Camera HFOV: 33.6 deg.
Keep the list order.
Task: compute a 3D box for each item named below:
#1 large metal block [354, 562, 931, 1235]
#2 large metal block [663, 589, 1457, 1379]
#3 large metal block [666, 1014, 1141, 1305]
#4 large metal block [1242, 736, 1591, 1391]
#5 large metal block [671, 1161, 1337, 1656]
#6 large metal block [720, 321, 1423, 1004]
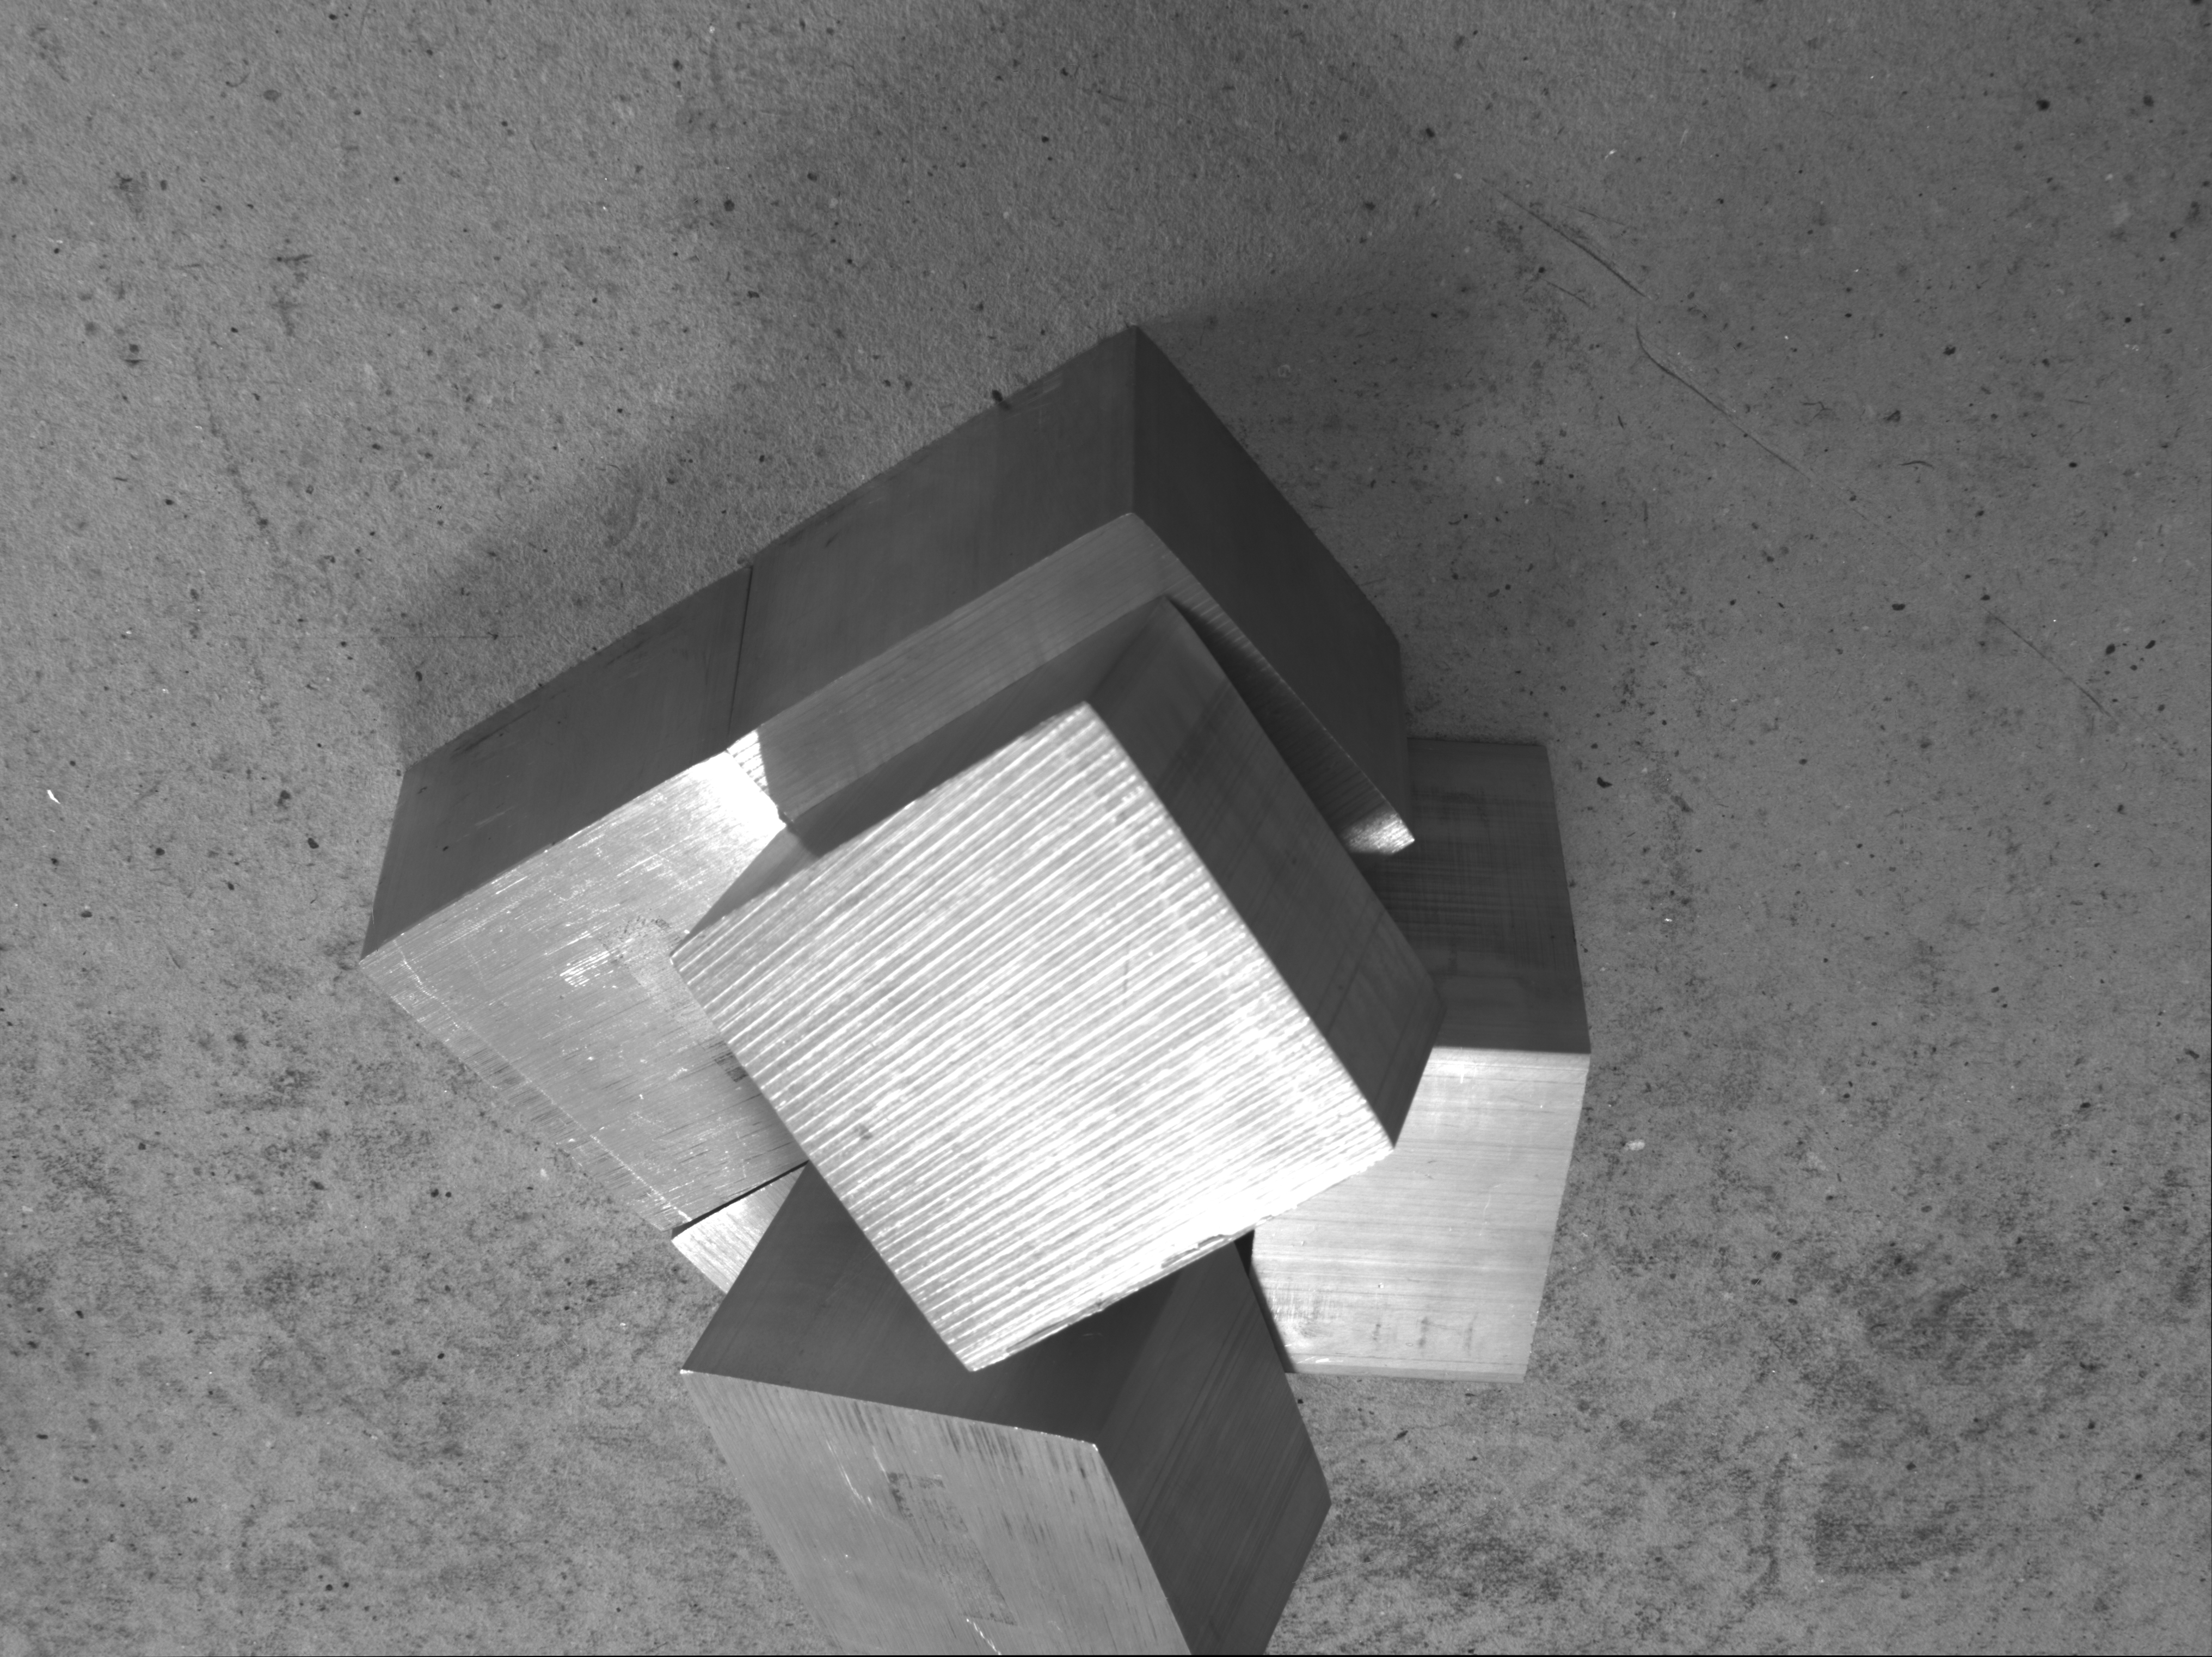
[{"bbox_3d":[-0.069,0.013,0.635,0.080,0.050,0.080,-29,125,22],"label":"large metal block"},{"bbox_3d":[-0.005,0.024,0.557,0.080,0.050,0.080,-31,101,23],"label":"large metal block"},{"bbox_3d":[-0.022,0.063,0.677,0.080,0.050,0.080,-29,124,22],"label":"large metal block"},{"bbox_3d":[0.050,0.040,0.637,0.050,0.080,0.080,3,130,-2],"label":"large metal block"},{"bbox_3d":[-0.015,0.105,0.626,0.080,0.050,0.080,5,135,29],"label":"large metal block"},{"bbox_3d":[-0.005,-0.022,0.603,0.080,0.050,0.080,-30,124,21],"label":"large metal block"}]
